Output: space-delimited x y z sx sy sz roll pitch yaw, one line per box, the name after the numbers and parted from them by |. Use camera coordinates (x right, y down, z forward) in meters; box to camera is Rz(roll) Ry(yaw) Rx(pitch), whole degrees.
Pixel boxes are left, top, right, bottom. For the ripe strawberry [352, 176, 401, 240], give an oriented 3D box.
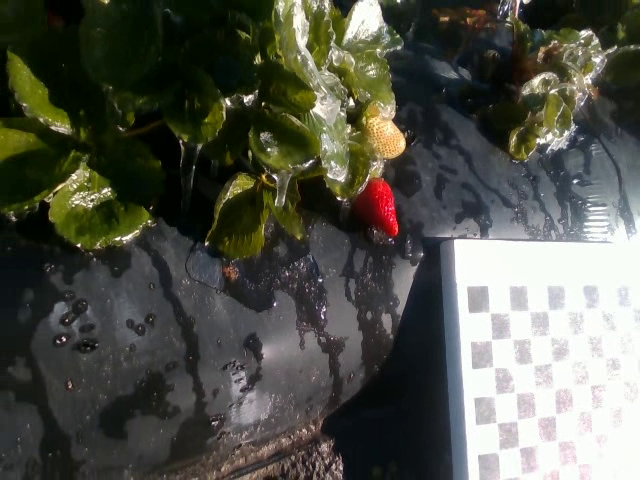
0.056 -0.028 0.505 0.041 0.052 0.040 -18 -6 -29 | ripe strawberry
